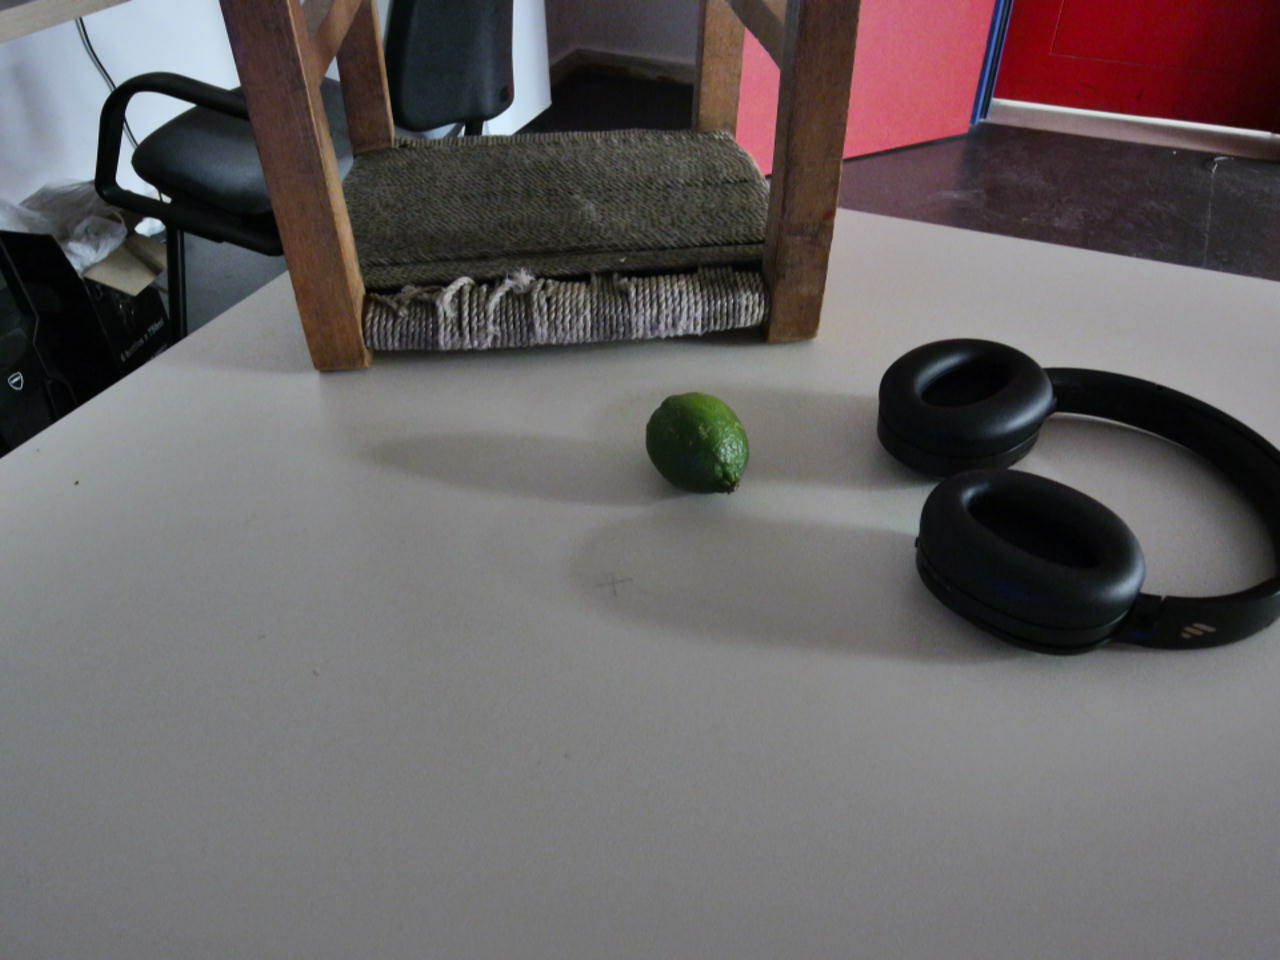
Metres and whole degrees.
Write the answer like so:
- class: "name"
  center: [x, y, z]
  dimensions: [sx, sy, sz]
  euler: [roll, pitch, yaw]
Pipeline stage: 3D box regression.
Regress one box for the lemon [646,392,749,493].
- class: "lemon"
  center: [0.031, -0.021, 0.537]
  dimensions: [0.057, 0.051, 0.054]
  euler: [14, 40, 17]
